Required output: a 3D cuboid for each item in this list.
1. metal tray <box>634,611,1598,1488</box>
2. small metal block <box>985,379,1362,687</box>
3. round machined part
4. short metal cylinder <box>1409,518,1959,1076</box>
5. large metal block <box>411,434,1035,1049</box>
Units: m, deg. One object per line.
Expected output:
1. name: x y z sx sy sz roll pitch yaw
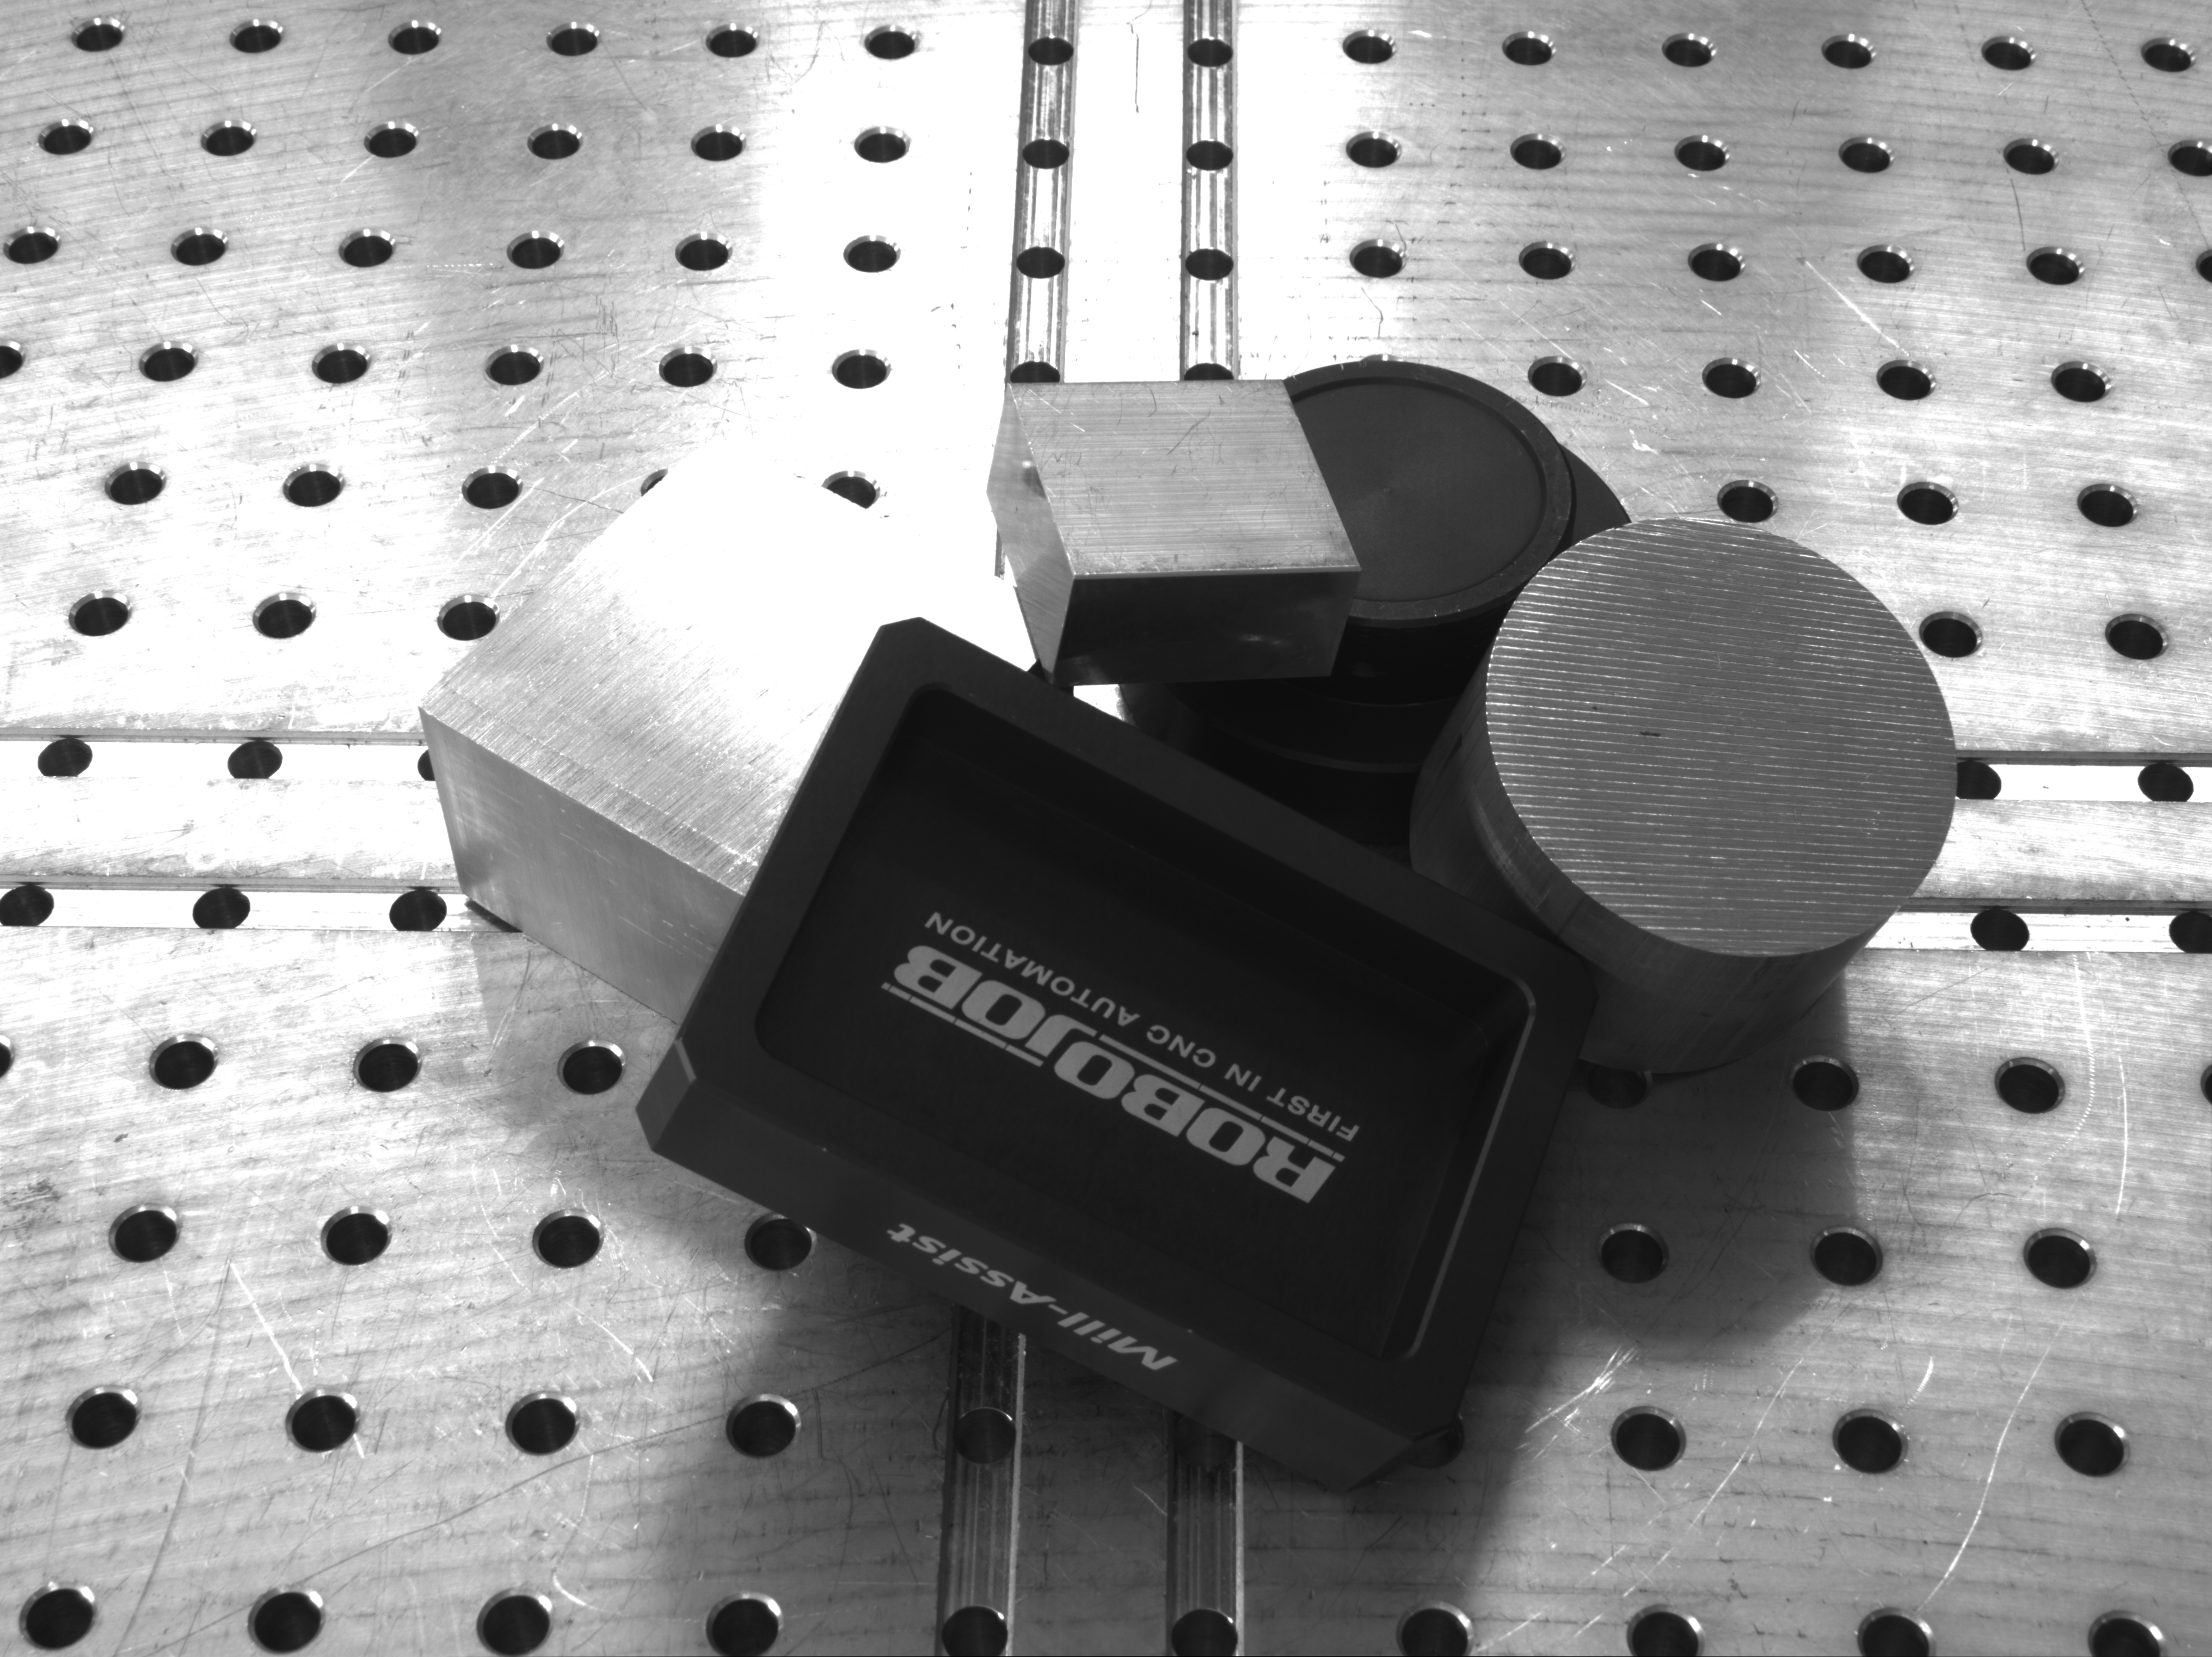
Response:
1. metal tray: 0.004 0.034 0.576 0.130 0.030 0.090 27 59 -6
2. small metal block: 0.011 -0.051 0.628 0.050 0.025 0.050 -3 46 -17
3. round machined part: 0.051 -0.048 0.675 0.098 0.042 0.098 0 50 0
4. short metal cylinder: 0.096 -0.005 0.619 0.080 0.050 0.080 5 63 -9
5. large metal block: -0.060 -0.012 0.639 0.080 0.050 0.080 29 56 22
